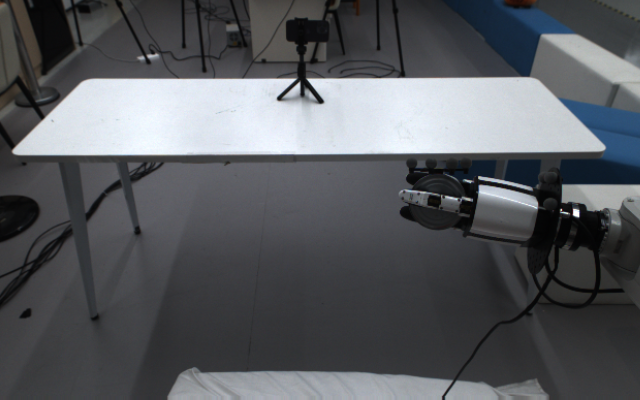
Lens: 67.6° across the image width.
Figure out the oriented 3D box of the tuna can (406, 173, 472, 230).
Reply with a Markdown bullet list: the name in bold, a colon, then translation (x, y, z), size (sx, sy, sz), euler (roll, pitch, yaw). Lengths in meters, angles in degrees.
- **tuna can**: translation (0.180, 0.000, 0.739), size (0.085, 0.085, 0.034), euler (13, 7, 15)
